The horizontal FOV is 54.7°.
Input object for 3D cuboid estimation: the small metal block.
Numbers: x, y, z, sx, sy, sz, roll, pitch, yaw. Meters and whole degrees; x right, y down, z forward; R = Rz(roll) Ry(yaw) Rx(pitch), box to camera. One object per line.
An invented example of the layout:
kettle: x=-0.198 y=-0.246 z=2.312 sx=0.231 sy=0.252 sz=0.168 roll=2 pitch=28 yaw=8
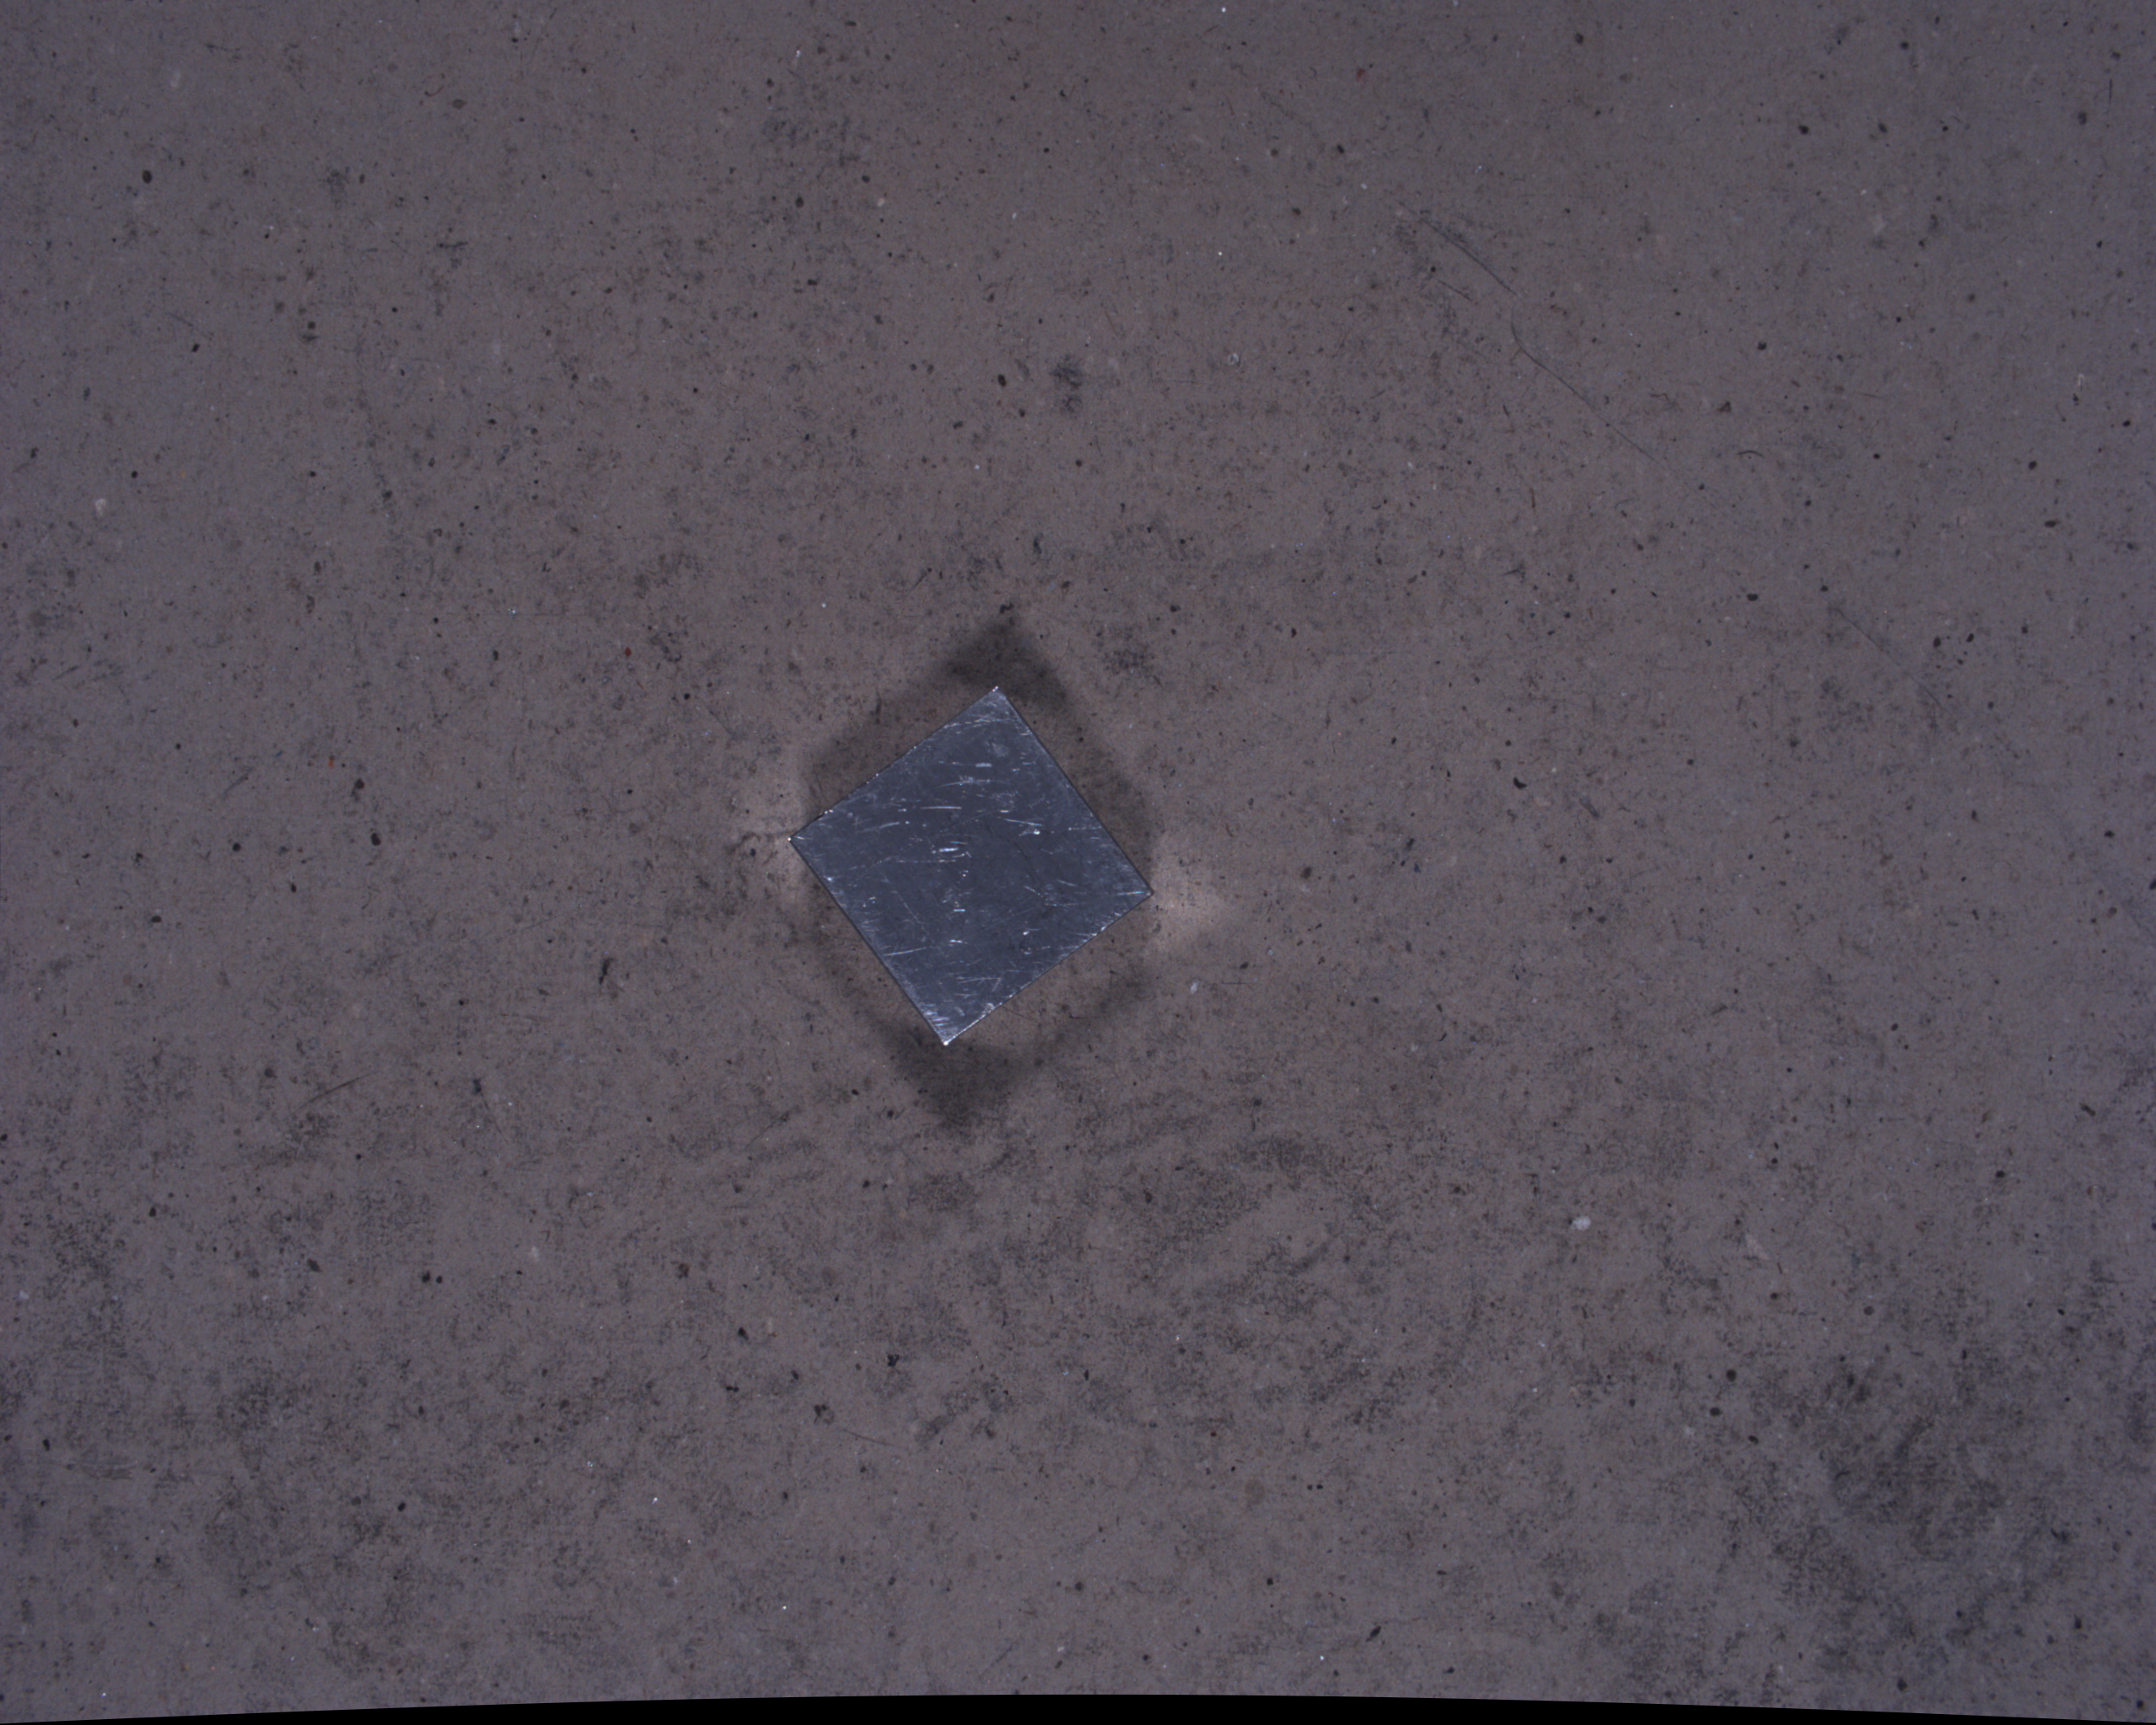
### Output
small metal block: x=-0.020 y=0.001 z=0.411 sx=0.050 sy=0.025 sz=0.050 roll=-37 pitch=90 yaw=0
